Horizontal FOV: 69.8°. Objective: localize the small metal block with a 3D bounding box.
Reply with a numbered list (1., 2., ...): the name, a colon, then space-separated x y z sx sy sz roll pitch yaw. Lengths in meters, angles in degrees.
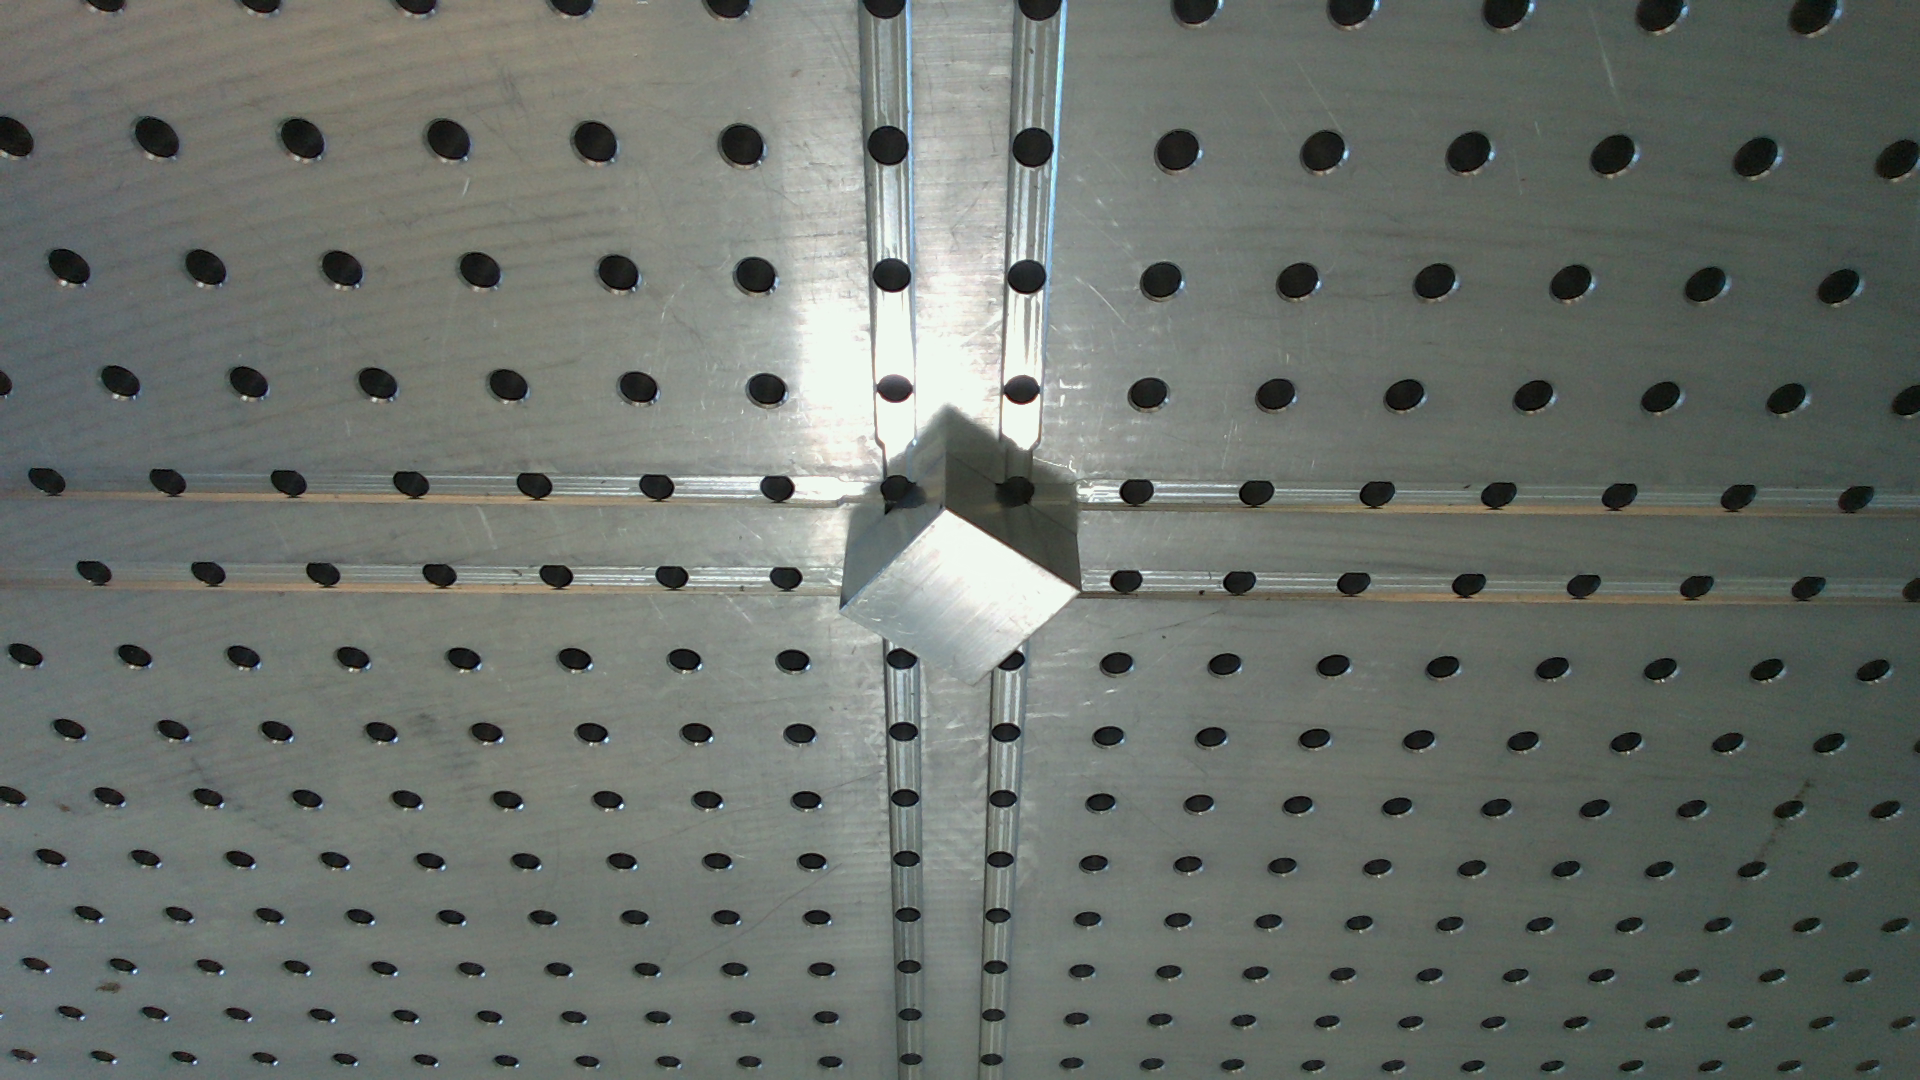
1. small metal block: -0.001 0.010 0.402 0.050 0.025 0.050 31 124 -24
